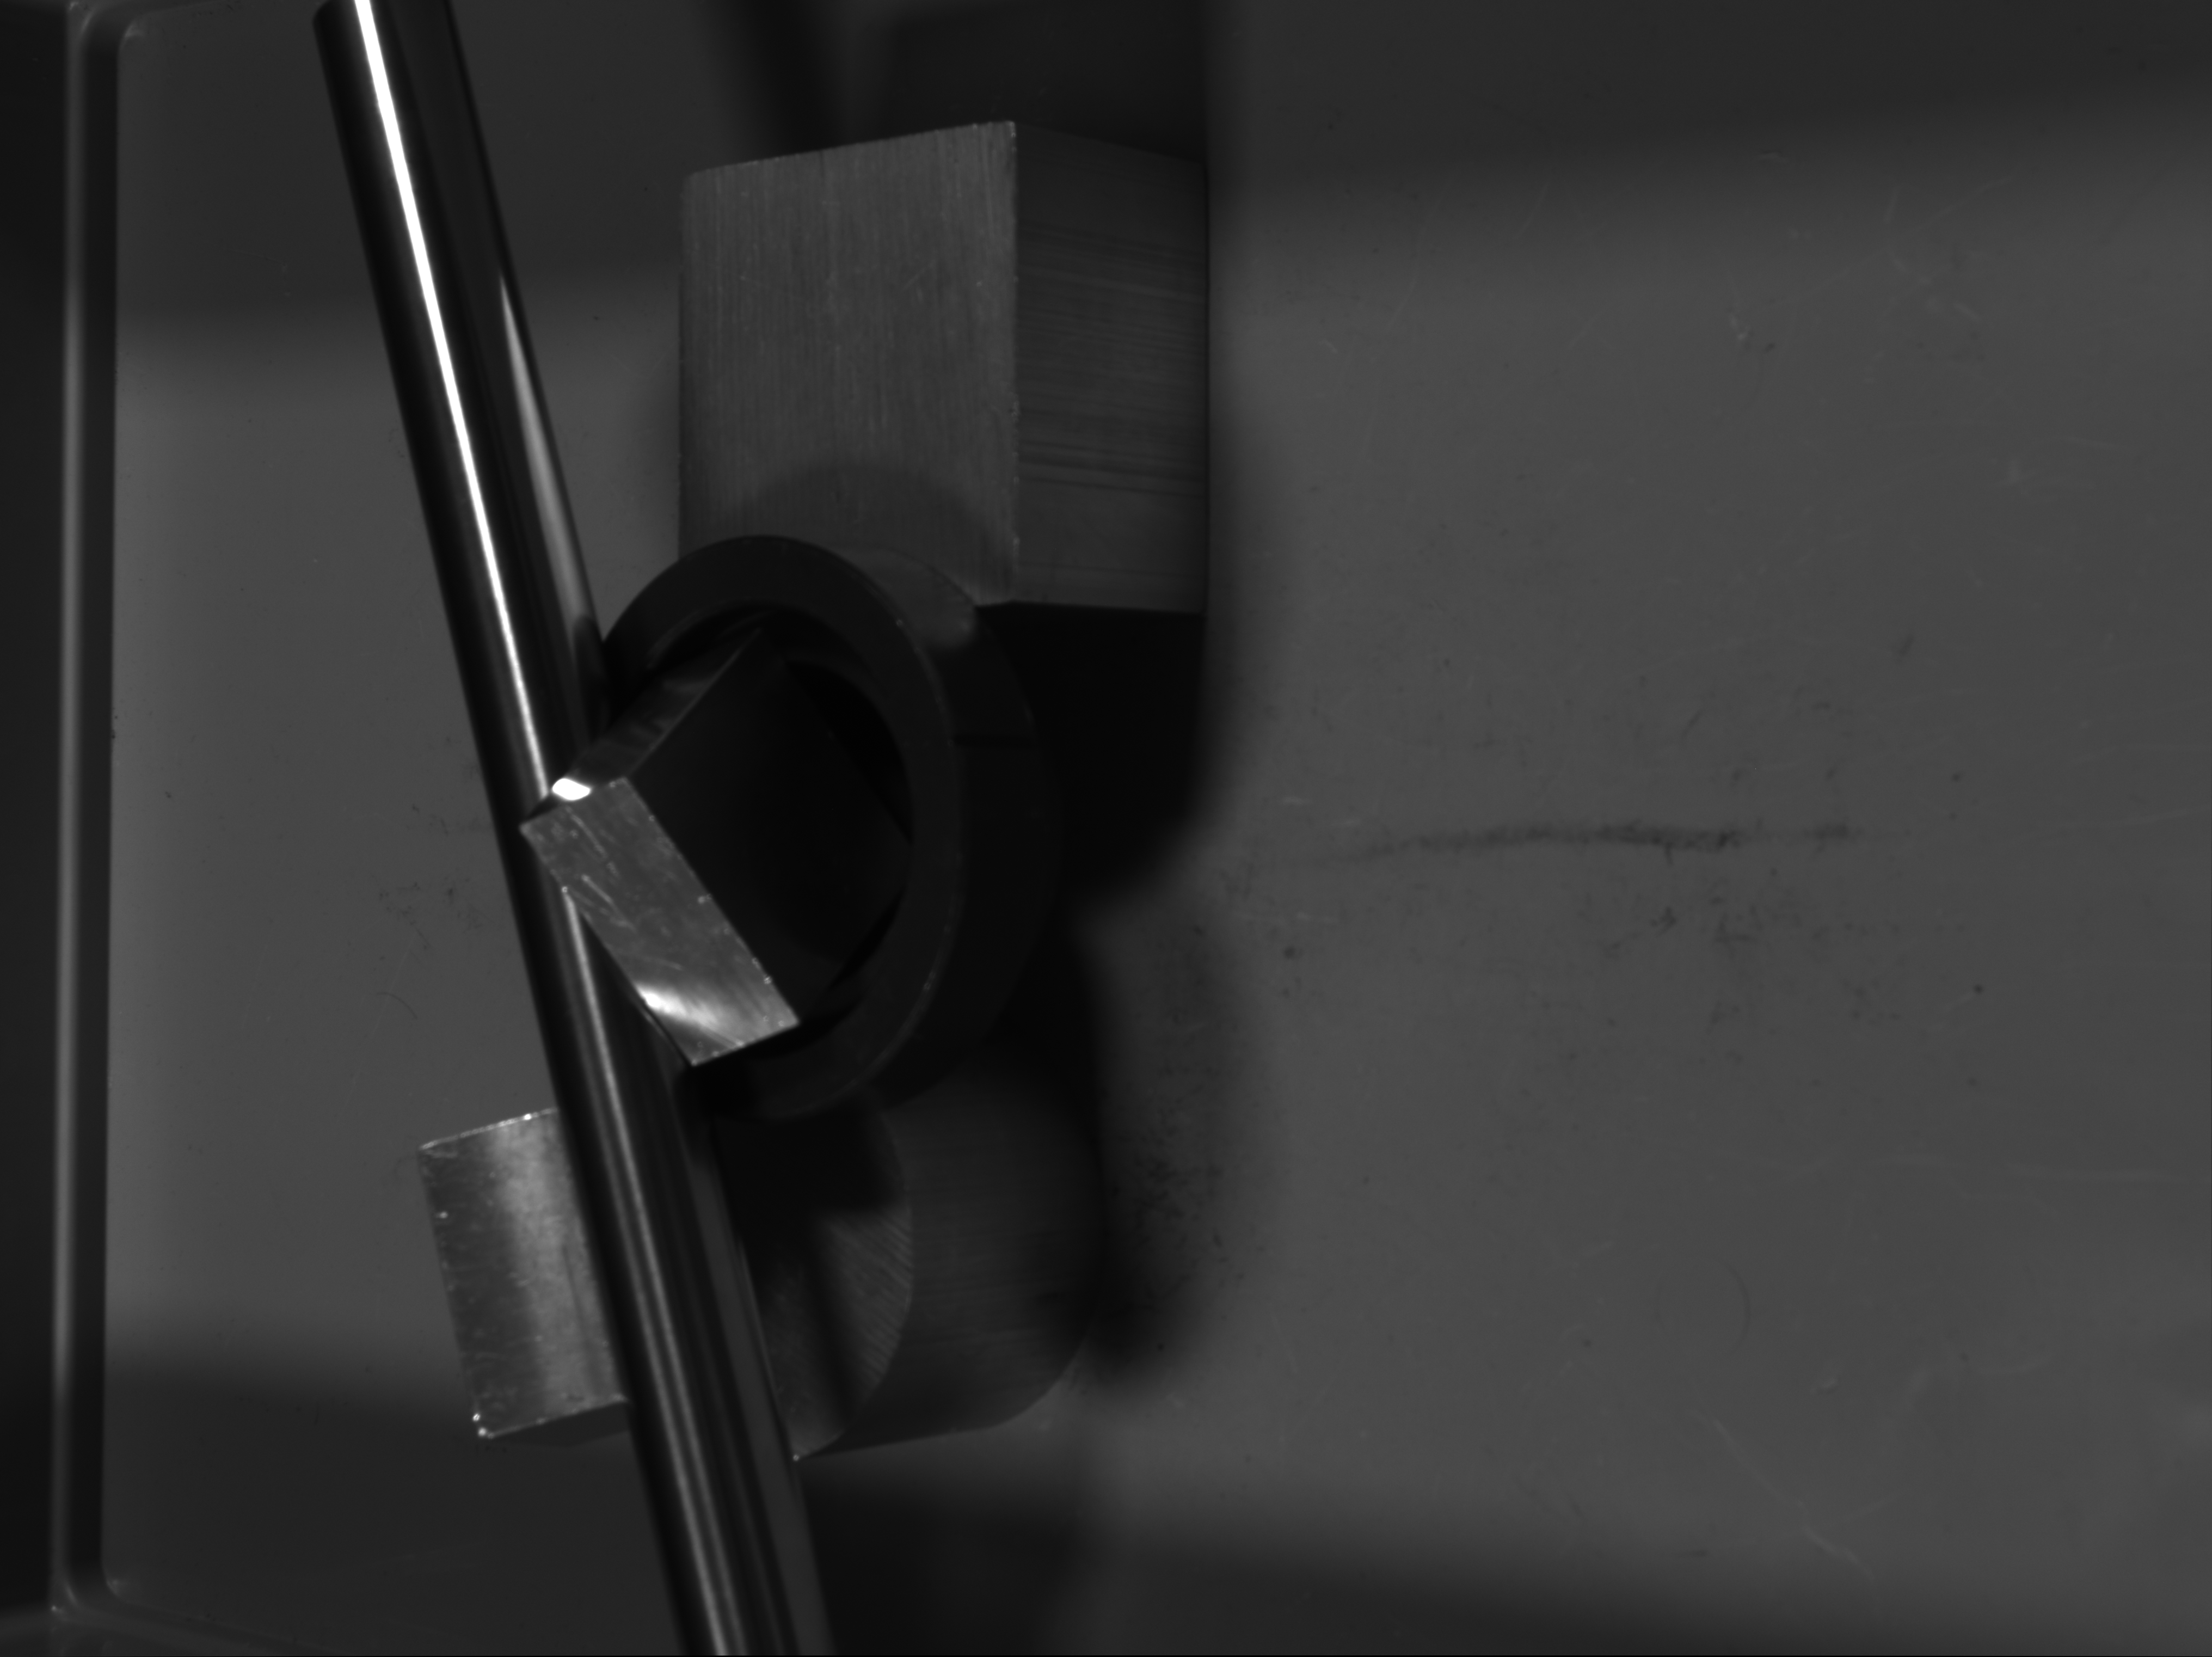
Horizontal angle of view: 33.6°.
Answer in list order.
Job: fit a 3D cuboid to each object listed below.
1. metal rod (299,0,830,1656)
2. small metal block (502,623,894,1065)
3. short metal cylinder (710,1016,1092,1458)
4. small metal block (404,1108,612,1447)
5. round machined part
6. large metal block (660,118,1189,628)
[{"bbox_3d":[-0.094,-0.003,0.621,0.025,0.025,0.300,-24,75,37],"label":"metal rod"},{"bbox_3d":[-0.066,0.002,0.610,0.025,0.050,0.050,-22,110,34],"label":"small metal block"},{"bbox_3d":[-0.049,0.071,0.660,0.080,0.050,0.080,0,90,39],"label":"short metal cylinder"},{"bbox_3d":[-0.096,0.078,0.630,0.025,0.050,0.050,-15,77,5],"label":"small metal block"},{"bbox_3d":[-0.048,0.000,0.626,0.098,0.042,0.098,0,90,39],"label":"round machined part"},{"bbox_3d":[-0.032,-0.076,0.644,0.080,0.050,0.080,0,90,39],"label":"large metal block"}]
